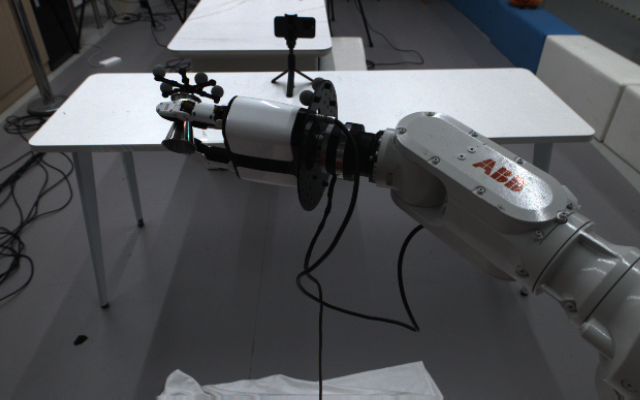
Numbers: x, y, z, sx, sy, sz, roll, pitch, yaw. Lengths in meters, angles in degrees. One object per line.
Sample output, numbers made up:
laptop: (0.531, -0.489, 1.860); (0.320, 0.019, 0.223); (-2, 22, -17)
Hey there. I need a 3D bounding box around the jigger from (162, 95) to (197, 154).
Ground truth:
jigger: (-0.182, -0.101, 0.628); (0.043, 0.043, 0.071); (3, 73, 1)
